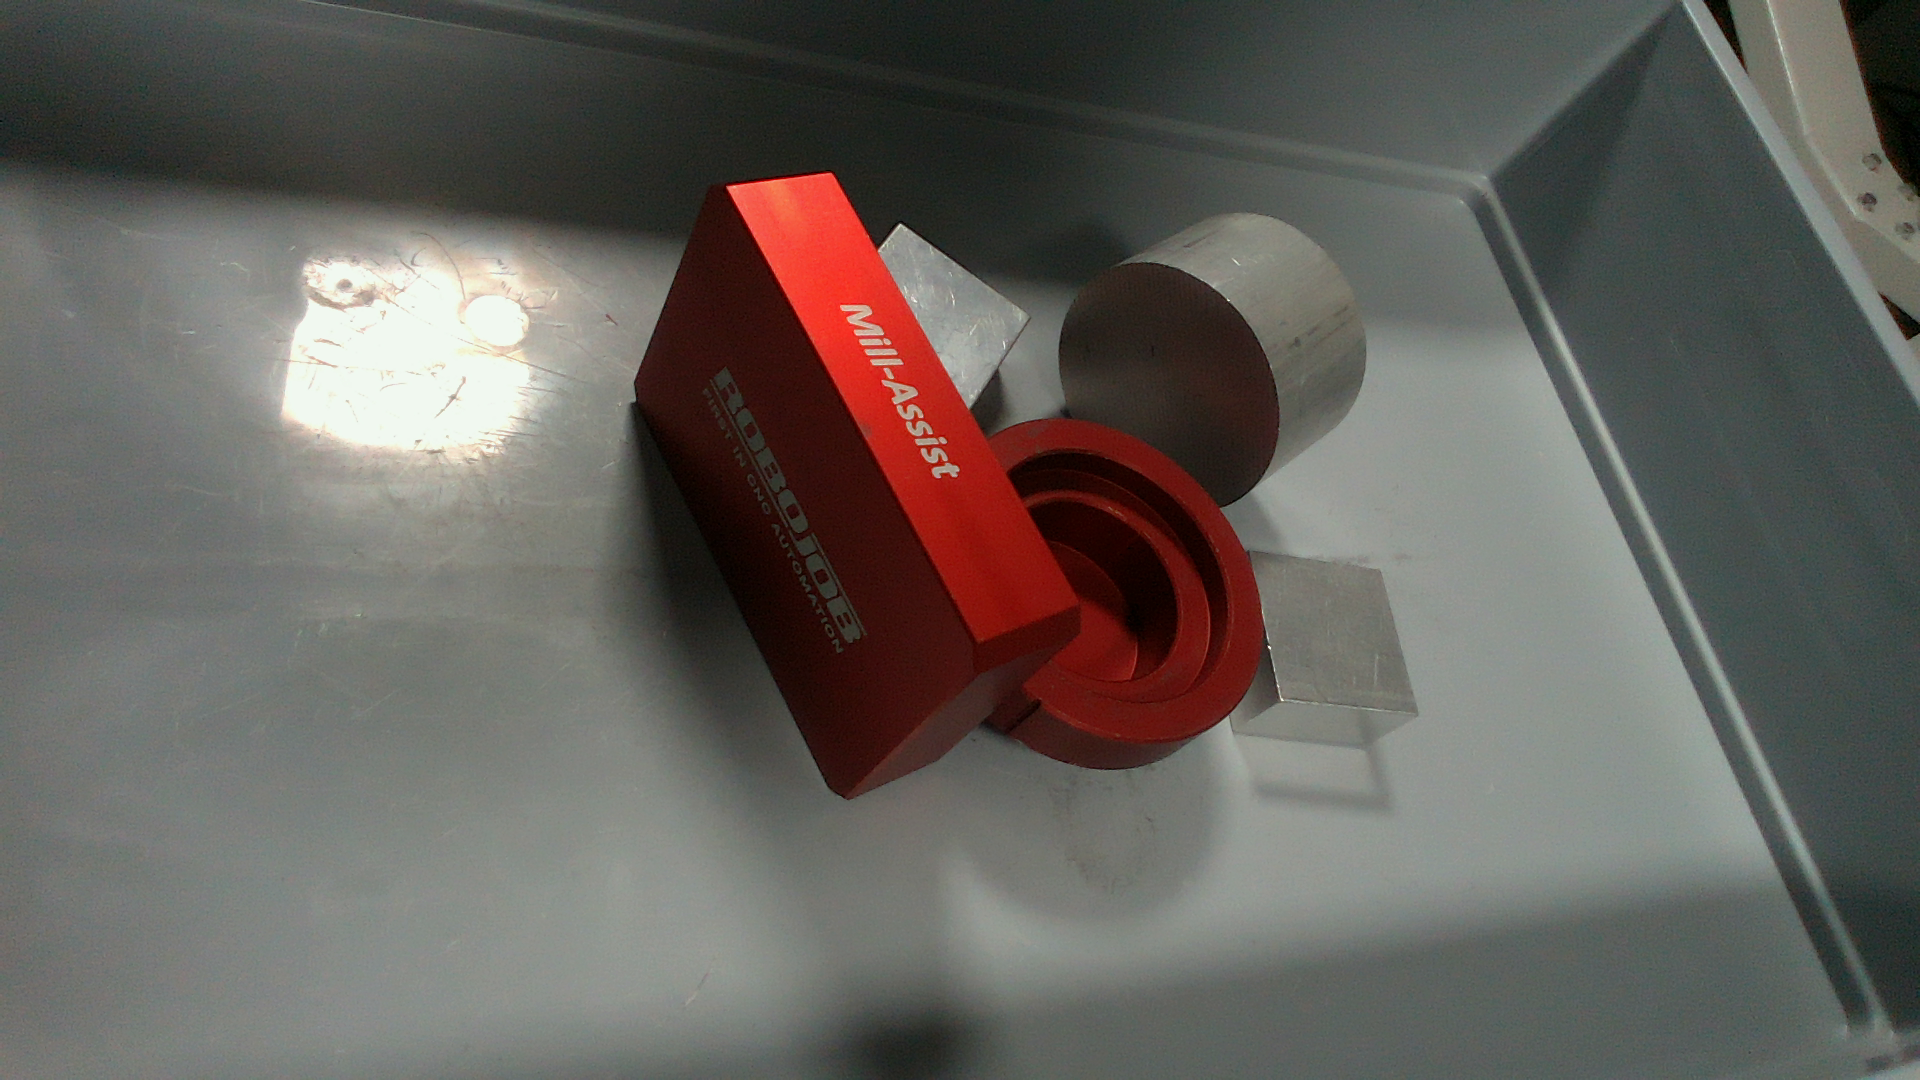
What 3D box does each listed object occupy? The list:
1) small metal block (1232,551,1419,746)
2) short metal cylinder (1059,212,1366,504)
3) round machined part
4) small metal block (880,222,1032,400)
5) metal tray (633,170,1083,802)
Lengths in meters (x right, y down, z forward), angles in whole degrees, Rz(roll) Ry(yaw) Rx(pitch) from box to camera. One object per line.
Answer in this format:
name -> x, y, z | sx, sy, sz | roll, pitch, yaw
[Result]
small metal block -> 0.108, 0.034, 0.425 | 0.050, 0.025, 0.050 | 8, 57, -22
short metal cylinder -> 0.078, -0.056, 0.429 | 0.050, 0.080, 0.080 | -33, 80, -38
round machined part -> 0.032, 0.017, 0.382 | 0.098, 0.042, 0.098 | 14, 56, -21
small metal block -> -0.013, -0.061, 0.418 | 0.050, 0.025, 0.050 | 34, 52, -4
metal tray -> -0.031, -0.012, 0.337 | 0.030, 0.090, 0.130 | -18, 71, -35
